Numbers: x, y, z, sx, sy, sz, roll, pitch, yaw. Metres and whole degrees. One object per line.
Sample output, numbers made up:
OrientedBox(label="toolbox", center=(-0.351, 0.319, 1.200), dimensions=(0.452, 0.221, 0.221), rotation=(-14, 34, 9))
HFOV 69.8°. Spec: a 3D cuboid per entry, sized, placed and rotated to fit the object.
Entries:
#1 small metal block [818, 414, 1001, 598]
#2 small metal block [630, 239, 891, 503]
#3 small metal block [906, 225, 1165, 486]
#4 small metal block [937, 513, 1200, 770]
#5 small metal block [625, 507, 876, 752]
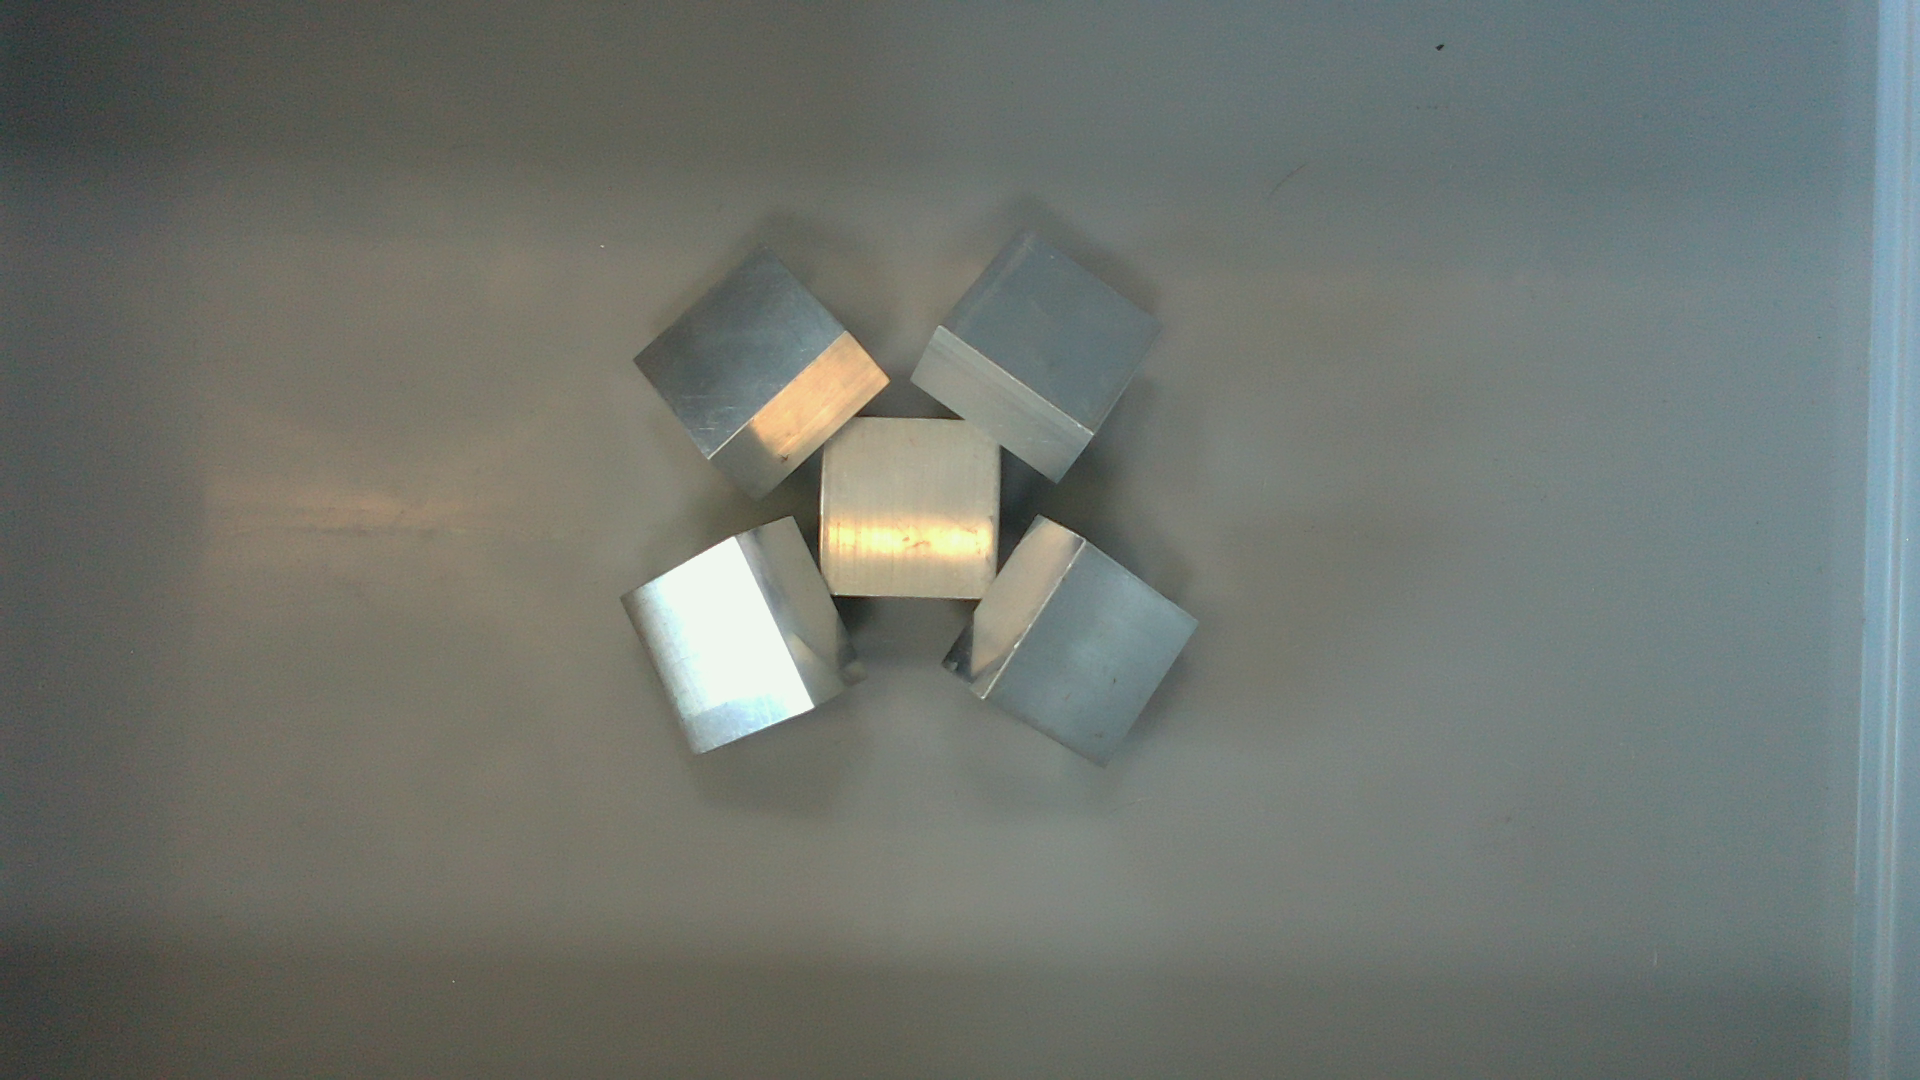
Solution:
OrientedBox(label="small metal block", center=(-0.014, -0.009, 0.393), dimensions=(0.050, 0.025, 0.050), rotation=(2, 90, 0))
OrientedBox(label="small metal block", center=(-0.056, -0.047, 0.381), dimensions=(0.050, 0.025, 0.050), rotation=(-43, 53, 1))
OrientedBox(label="small metal block", center=(0.022, -0.052, 0.381), dimensions=(0.050, 0.025, 0.050), rotation=(35, 53, -1))
OrientedBox(label="small metal block", center=(0.031, 0.029, 0.383), dimensions=(0.050, 0.025, 0.050), rotation=(33, 90, -34))
OrientedBox(label="small metal block", center=(-0.059, 0.025, 0.382), dimensions=(0.050, 0.025, 0.050), rotation=(-26, 90, 38))
